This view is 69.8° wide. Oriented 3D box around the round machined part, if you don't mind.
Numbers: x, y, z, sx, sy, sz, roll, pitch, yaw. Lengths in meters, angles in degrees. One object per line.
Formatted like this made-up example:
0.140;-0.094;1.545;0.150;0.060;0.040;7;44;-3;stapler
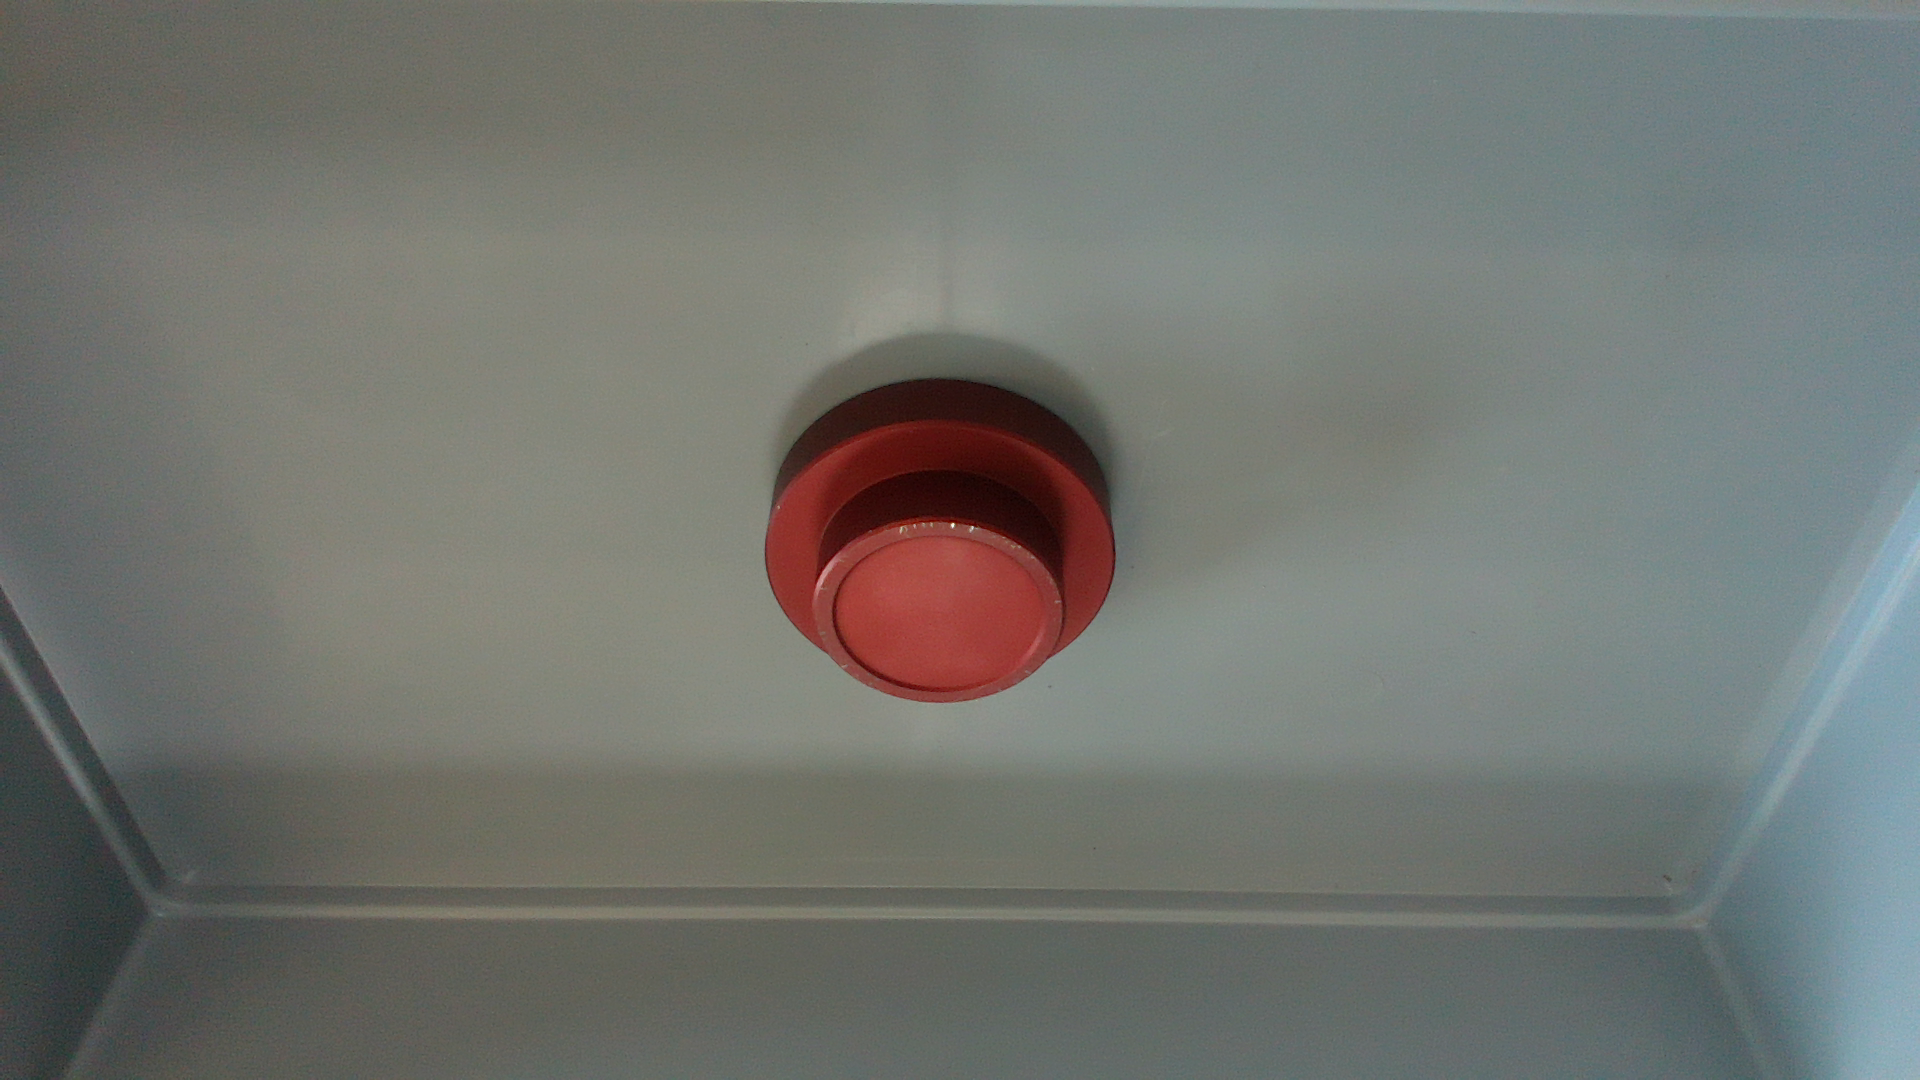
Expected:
-0.006;0.007;0.382;0.098;0.042;0.098;0;130;0;round machined part
